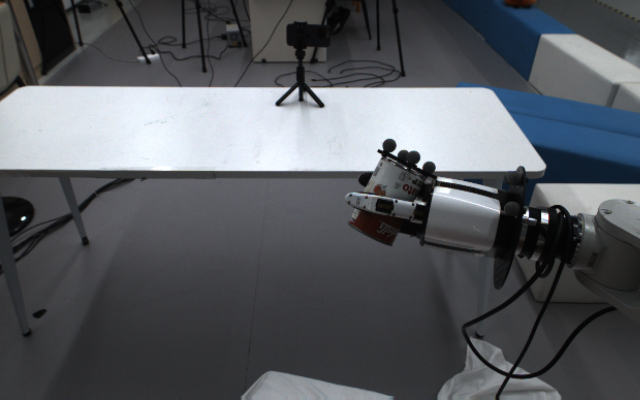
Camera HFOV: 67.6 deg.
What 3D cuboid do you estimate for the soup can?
[{"bbox_3d":[0.091,0.001,0.646,0.067,0.101,0.067,26,5,-3],"label":"soup can"}]
